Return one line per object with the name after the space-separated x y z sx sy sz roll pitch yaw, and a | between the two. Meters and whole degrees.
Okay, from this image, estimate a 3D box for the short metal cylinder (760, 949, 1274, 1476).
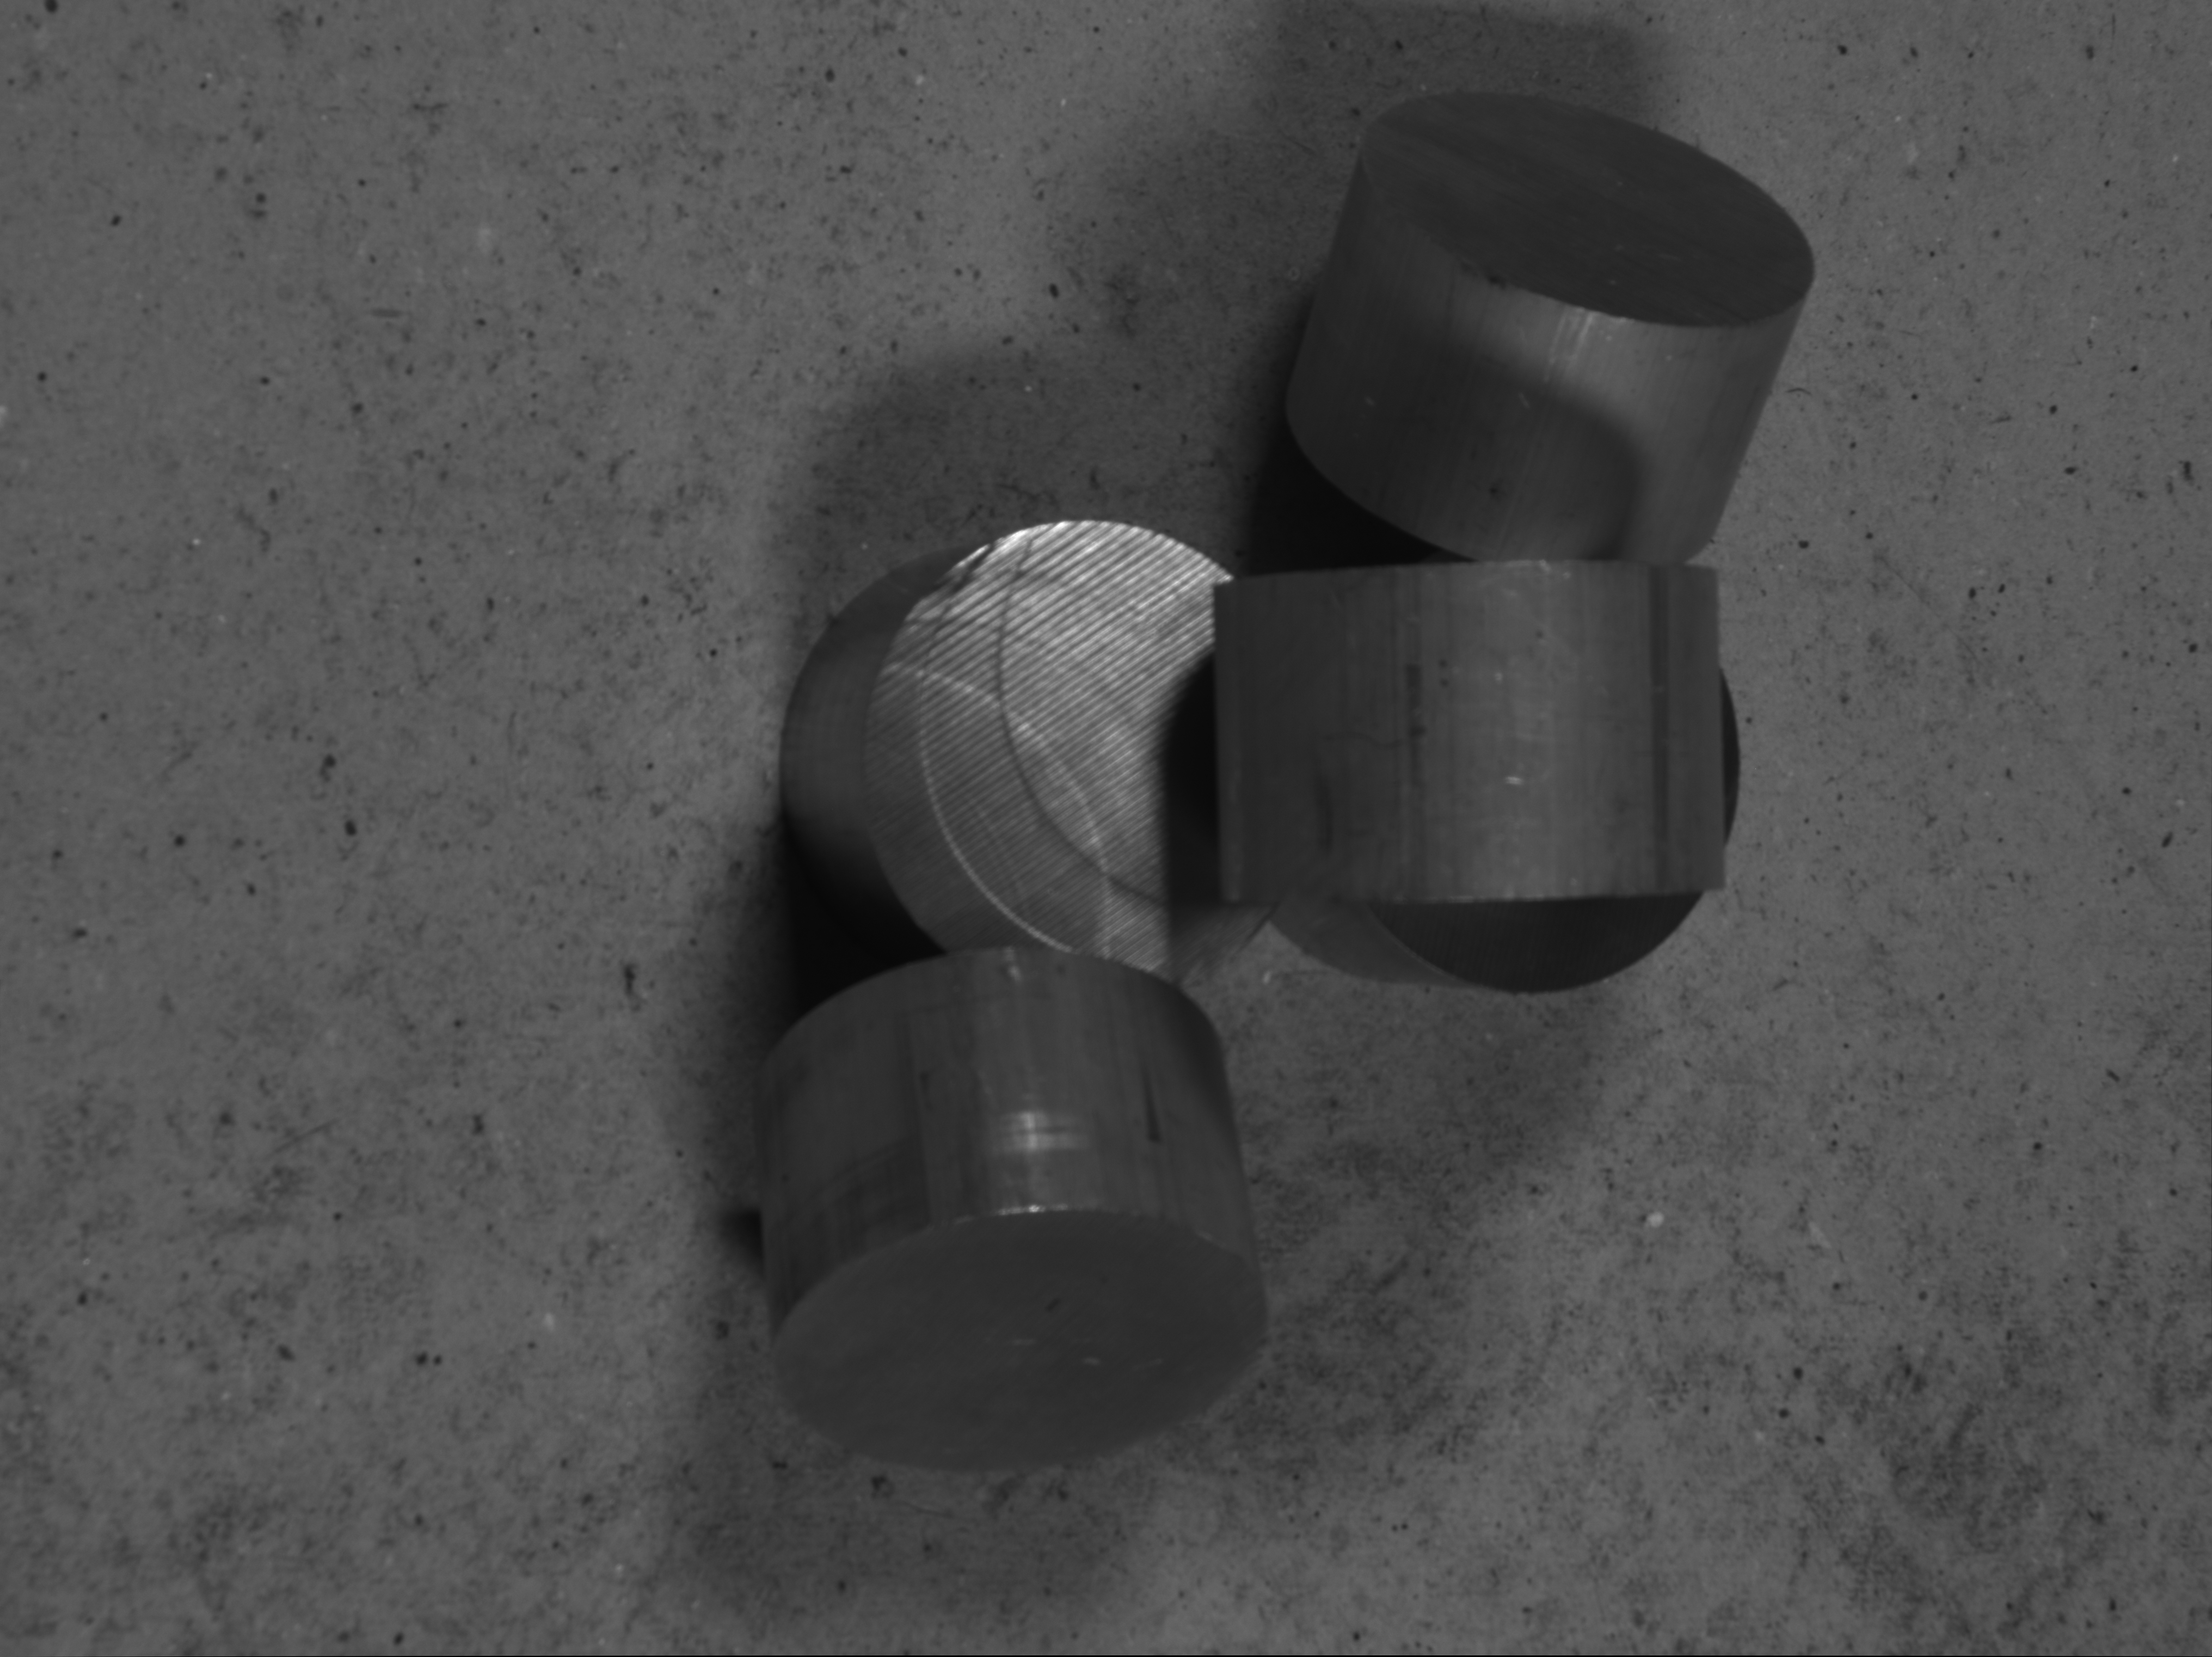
-0.016 0.064 0.601 0.080 0.080 0.050 8 48 -20 | short metal cylinder

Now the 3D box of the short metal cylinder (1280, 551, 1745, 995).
0.066 -0.011 0.654 0.080 0.050 0.080 0 90 -20 | short metal cylinder

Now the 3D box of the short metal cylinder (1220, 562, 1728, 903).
0.058 -0.015 0.582 0.080 0.080 0.050 -1 90 -20 | short metal cylinder

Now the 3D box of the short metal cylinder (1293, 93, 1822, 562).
0.077 -0.086 0.635 0.080 0.080 0.050 1 128 -20 | short metal cylinder

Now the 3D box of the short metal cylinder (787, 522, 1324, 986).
-0.009 -0.010 0.626 0.080 0.050 0.080 0 90 -20 | short metal cylinder
